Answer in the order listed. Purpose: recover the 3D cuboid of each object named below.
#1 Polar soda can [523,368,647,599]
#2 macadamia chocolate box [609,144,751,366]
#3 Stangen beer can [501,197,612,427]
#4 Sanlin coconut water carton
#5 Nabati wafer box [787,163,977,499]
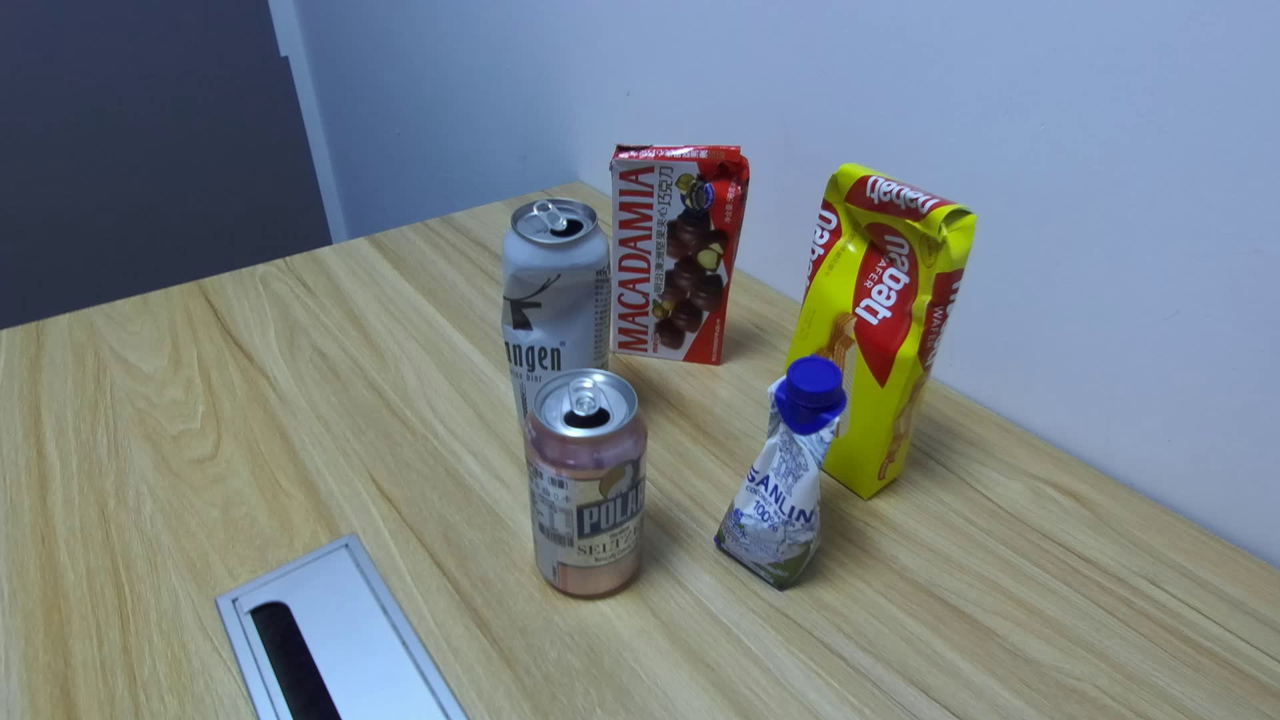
[{"bbox_3d":[-0.030,0.071,0.400,0.067,0.126,0.067,2,36,-1],"label":"Polar soda can"},{"bbox_3d":[0.028,-0.079,0.555,0.102,0.187,0.027,7,40,8],"label":"macadamia chocolate box"},{"bbox_3d":[-0.056,-0.023,0.485,0.070,0.173,0.070,-29,47,-35],"label":"Stangen beer can"},{"bbox_3d":[0.095,0.061,0.406,0.056,0.144,0.069,32,35,26],"label":"Sanlin coconut water carton"},{"bbox_3d":[0.143,-0.014,0.457,0.043,0.205,0.113,-23,41,-33],"label":"Nabati wafer box"}]
